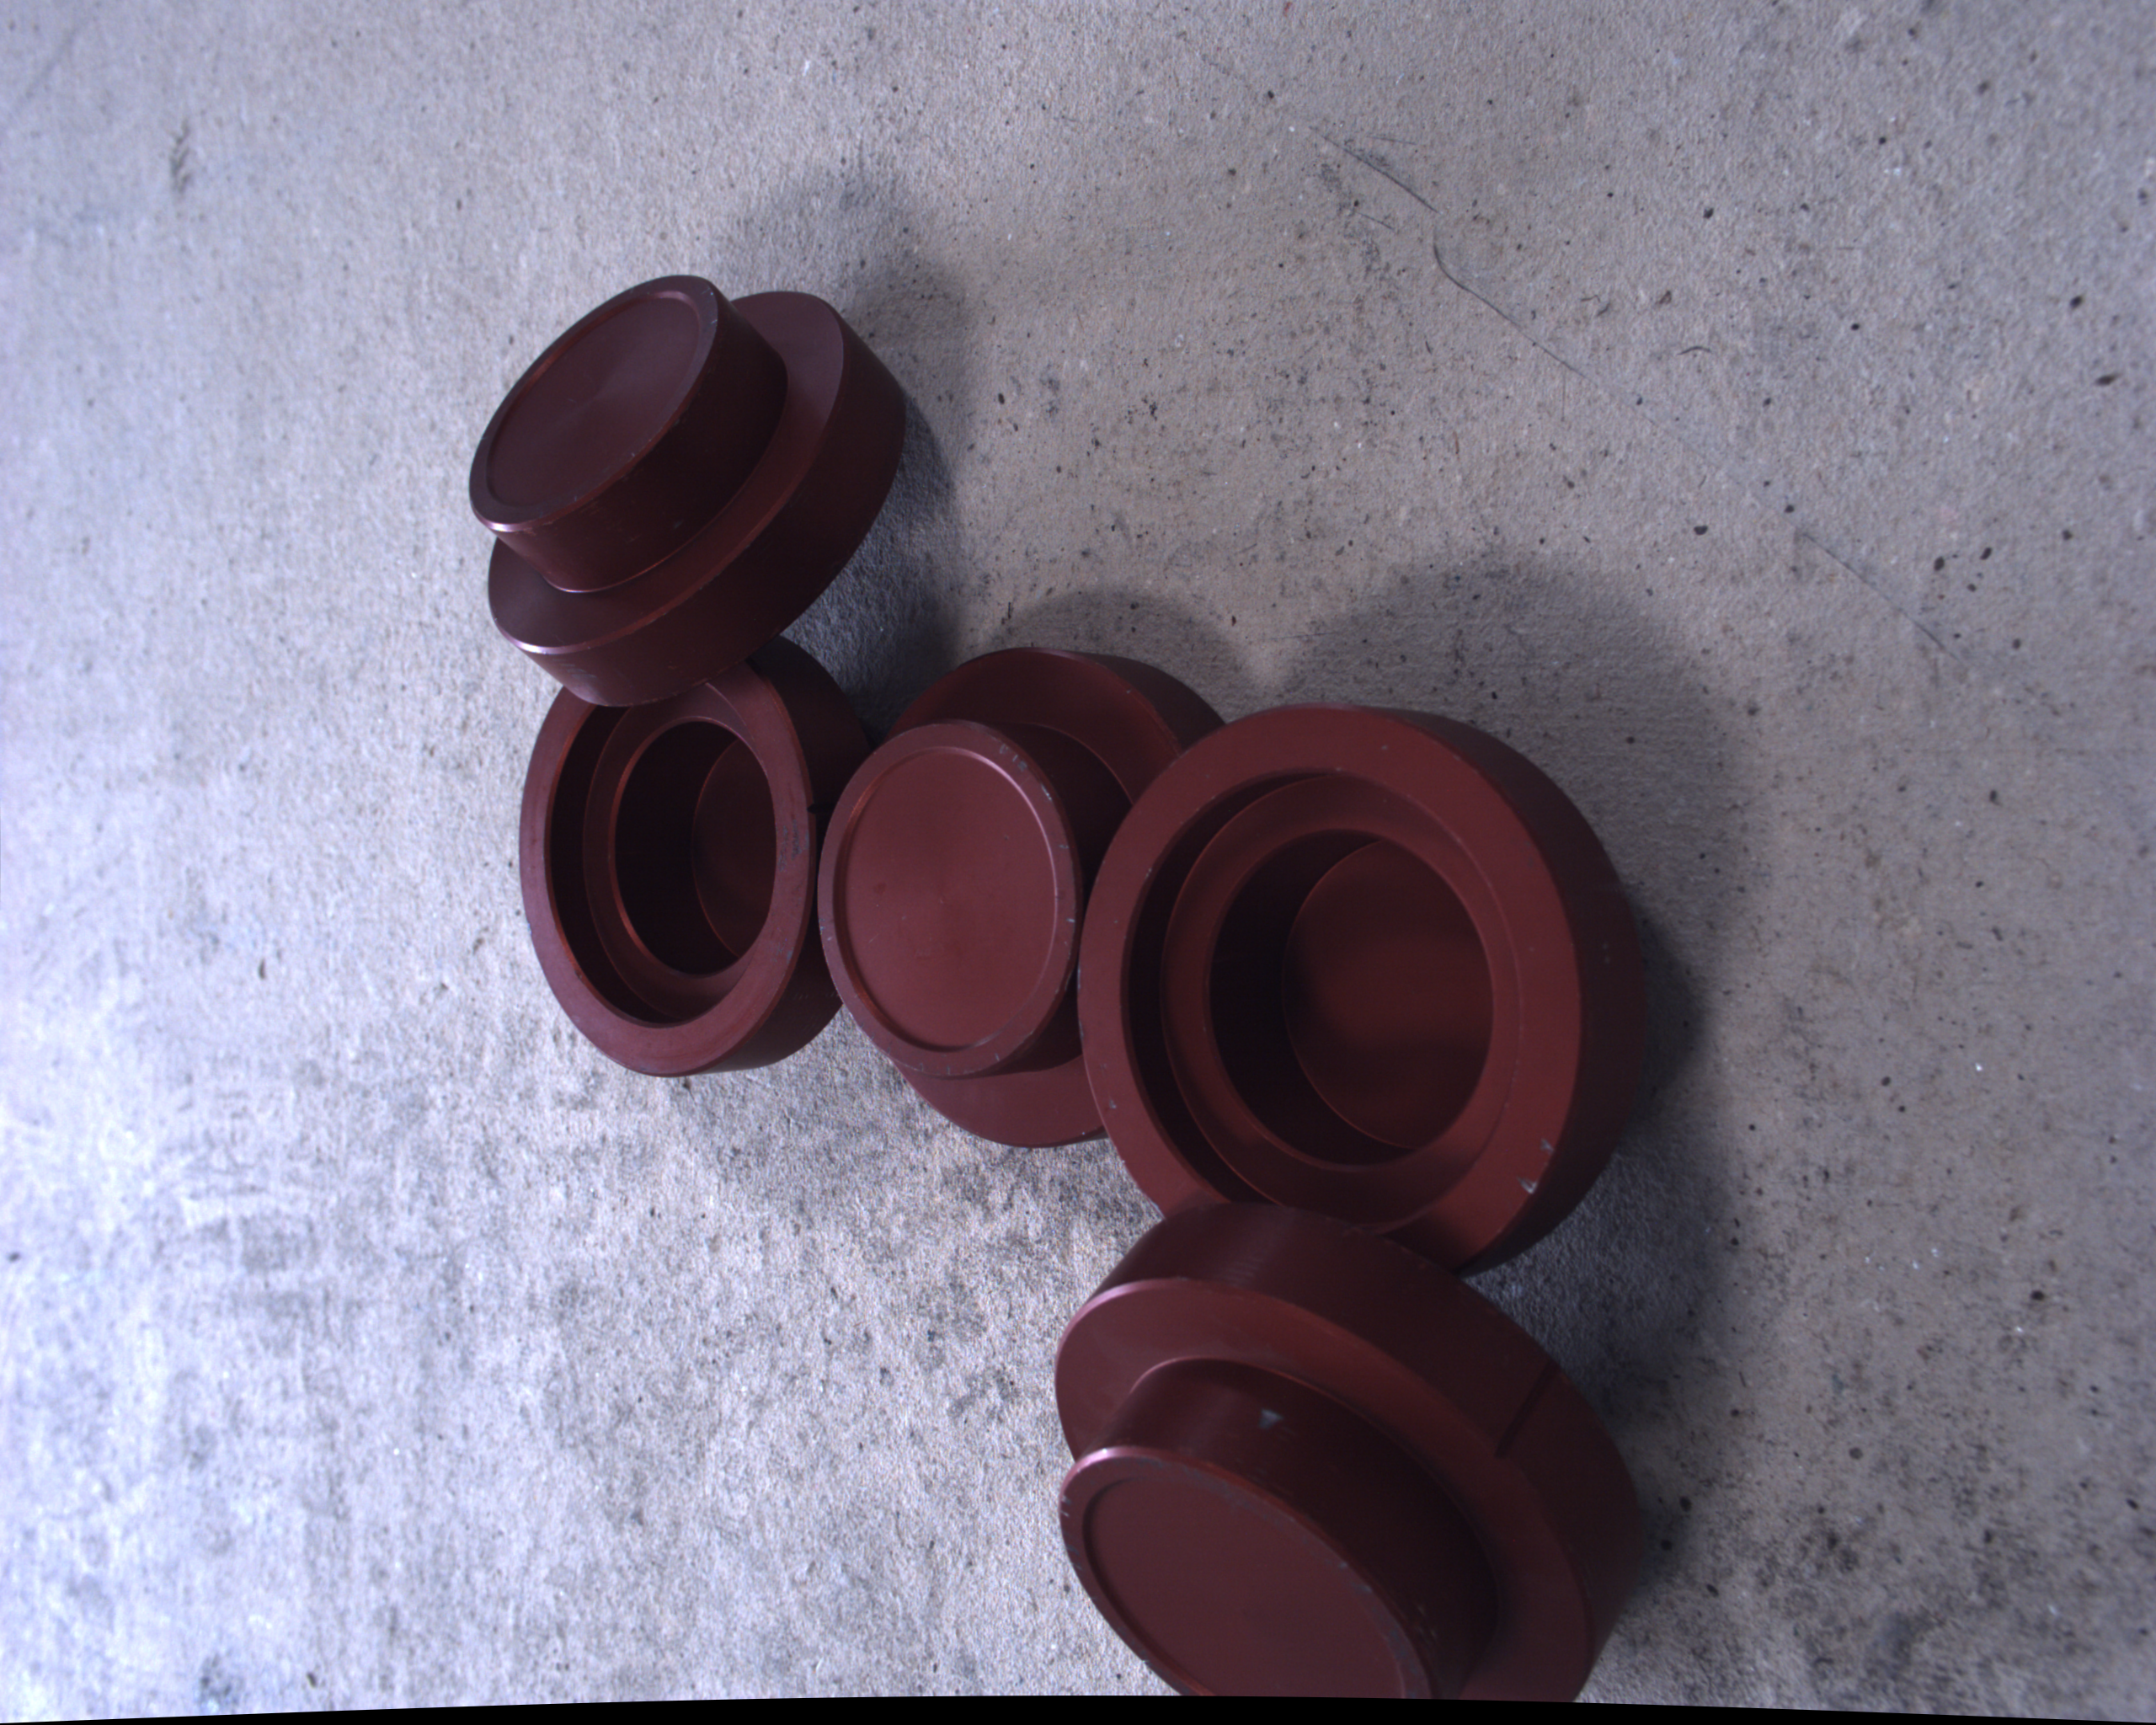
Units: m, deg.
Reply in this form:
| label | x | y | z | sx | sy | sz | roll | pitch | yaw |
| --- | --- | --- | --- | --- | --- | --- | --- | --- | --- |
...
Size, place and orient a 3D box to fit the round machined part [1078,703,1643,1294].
| label | x | y | z | sx | sy | sz | roll | pitch | yaw |
| --- | --- | --- | --- | --- | --- | --- | --- | --- | --- |
| round machined part | 0.050 | 0.023 | 0.353 | 0.098 | 0.042 | 0.097 | 1 | 91 | 41 |

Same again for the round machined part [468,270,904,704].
| label | x | y | z | sx | sy | sz | roll | pitch | yaw |
| --- | --- | --- | --- | --- | --- | --- | --- | --- | --- |
| round machined part | -0.089 | -0.085 | 0.440 | 0.098 | 0.042 | 0.098 | -21 | 48 | 25 |

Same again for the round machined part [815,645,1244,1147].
| label | x | y | z | sx | sy | sz | roll | pitch | yaw |
| --- | --- | --- | --- | --- | --- | --- | --- | --- | --- |
| round machined part | -0.013 | 0.006 | 0.405 | 0.098 | 0.042 | 0.097 | -2 | 86 | 41 |

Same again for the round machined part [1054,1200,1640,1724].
| label | x | y | z | sx | sy | sz | roll | pitch | yaw |
| --- | --- | --- | --- | --- | --- | --- | --- | --- | --- |
| round machined part | 0.036 | 0.106 | 0.336 | 0.098 | 0.042 | 0.097 | 22 | 132 | 27 |

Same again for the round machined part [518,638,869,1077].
| label | x | y | z | sx | sy | sz | roll | pitch | yaw |
| --- | --- | --- | --- | --- | --- | --- | --- | --- | --- |
| round machined part | -0.077 | -0.003 | 0.458 | 0.098 | 0.042 | 0.097 | 1 | 91 | 41 |
